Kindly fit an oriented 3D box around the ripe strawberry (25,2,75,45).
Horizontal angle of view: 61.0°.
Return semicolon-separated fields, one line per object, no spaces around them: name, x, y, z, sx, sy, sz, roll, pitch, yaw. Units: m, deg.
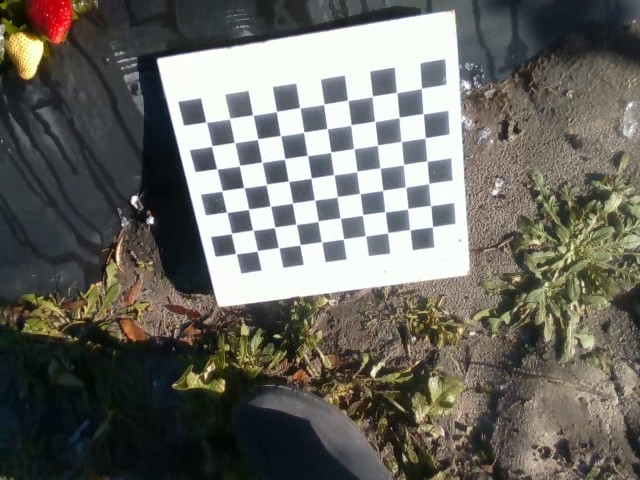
ripe strawberry;-0.247;-0.200;0.502;0.042;0.061;0.046;-22;-23;9
